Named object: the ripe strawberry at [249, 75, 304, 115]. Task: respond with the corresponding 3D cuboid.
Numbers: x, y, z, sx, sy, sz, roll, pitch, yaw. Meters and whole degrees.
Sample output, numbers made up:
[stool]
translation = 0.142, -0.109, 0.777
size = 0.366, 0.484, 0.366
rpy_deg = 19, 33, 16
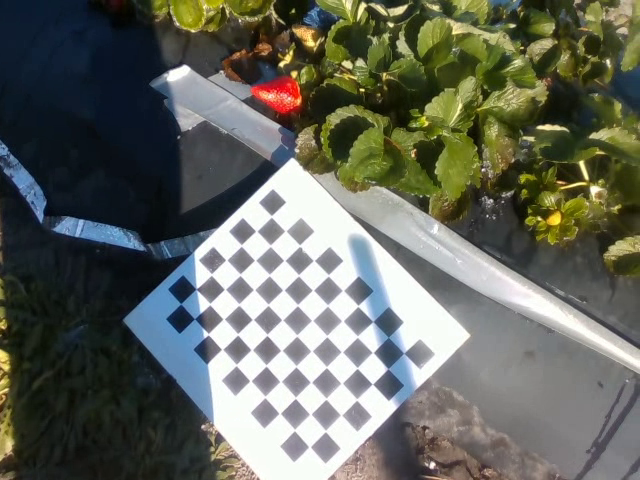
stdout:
[ripe strawberry]
translation = -0.060, -0.183, 0.748
size = 0.065, 0.062, 0.057
rpy_deg = -7, -8, -41
